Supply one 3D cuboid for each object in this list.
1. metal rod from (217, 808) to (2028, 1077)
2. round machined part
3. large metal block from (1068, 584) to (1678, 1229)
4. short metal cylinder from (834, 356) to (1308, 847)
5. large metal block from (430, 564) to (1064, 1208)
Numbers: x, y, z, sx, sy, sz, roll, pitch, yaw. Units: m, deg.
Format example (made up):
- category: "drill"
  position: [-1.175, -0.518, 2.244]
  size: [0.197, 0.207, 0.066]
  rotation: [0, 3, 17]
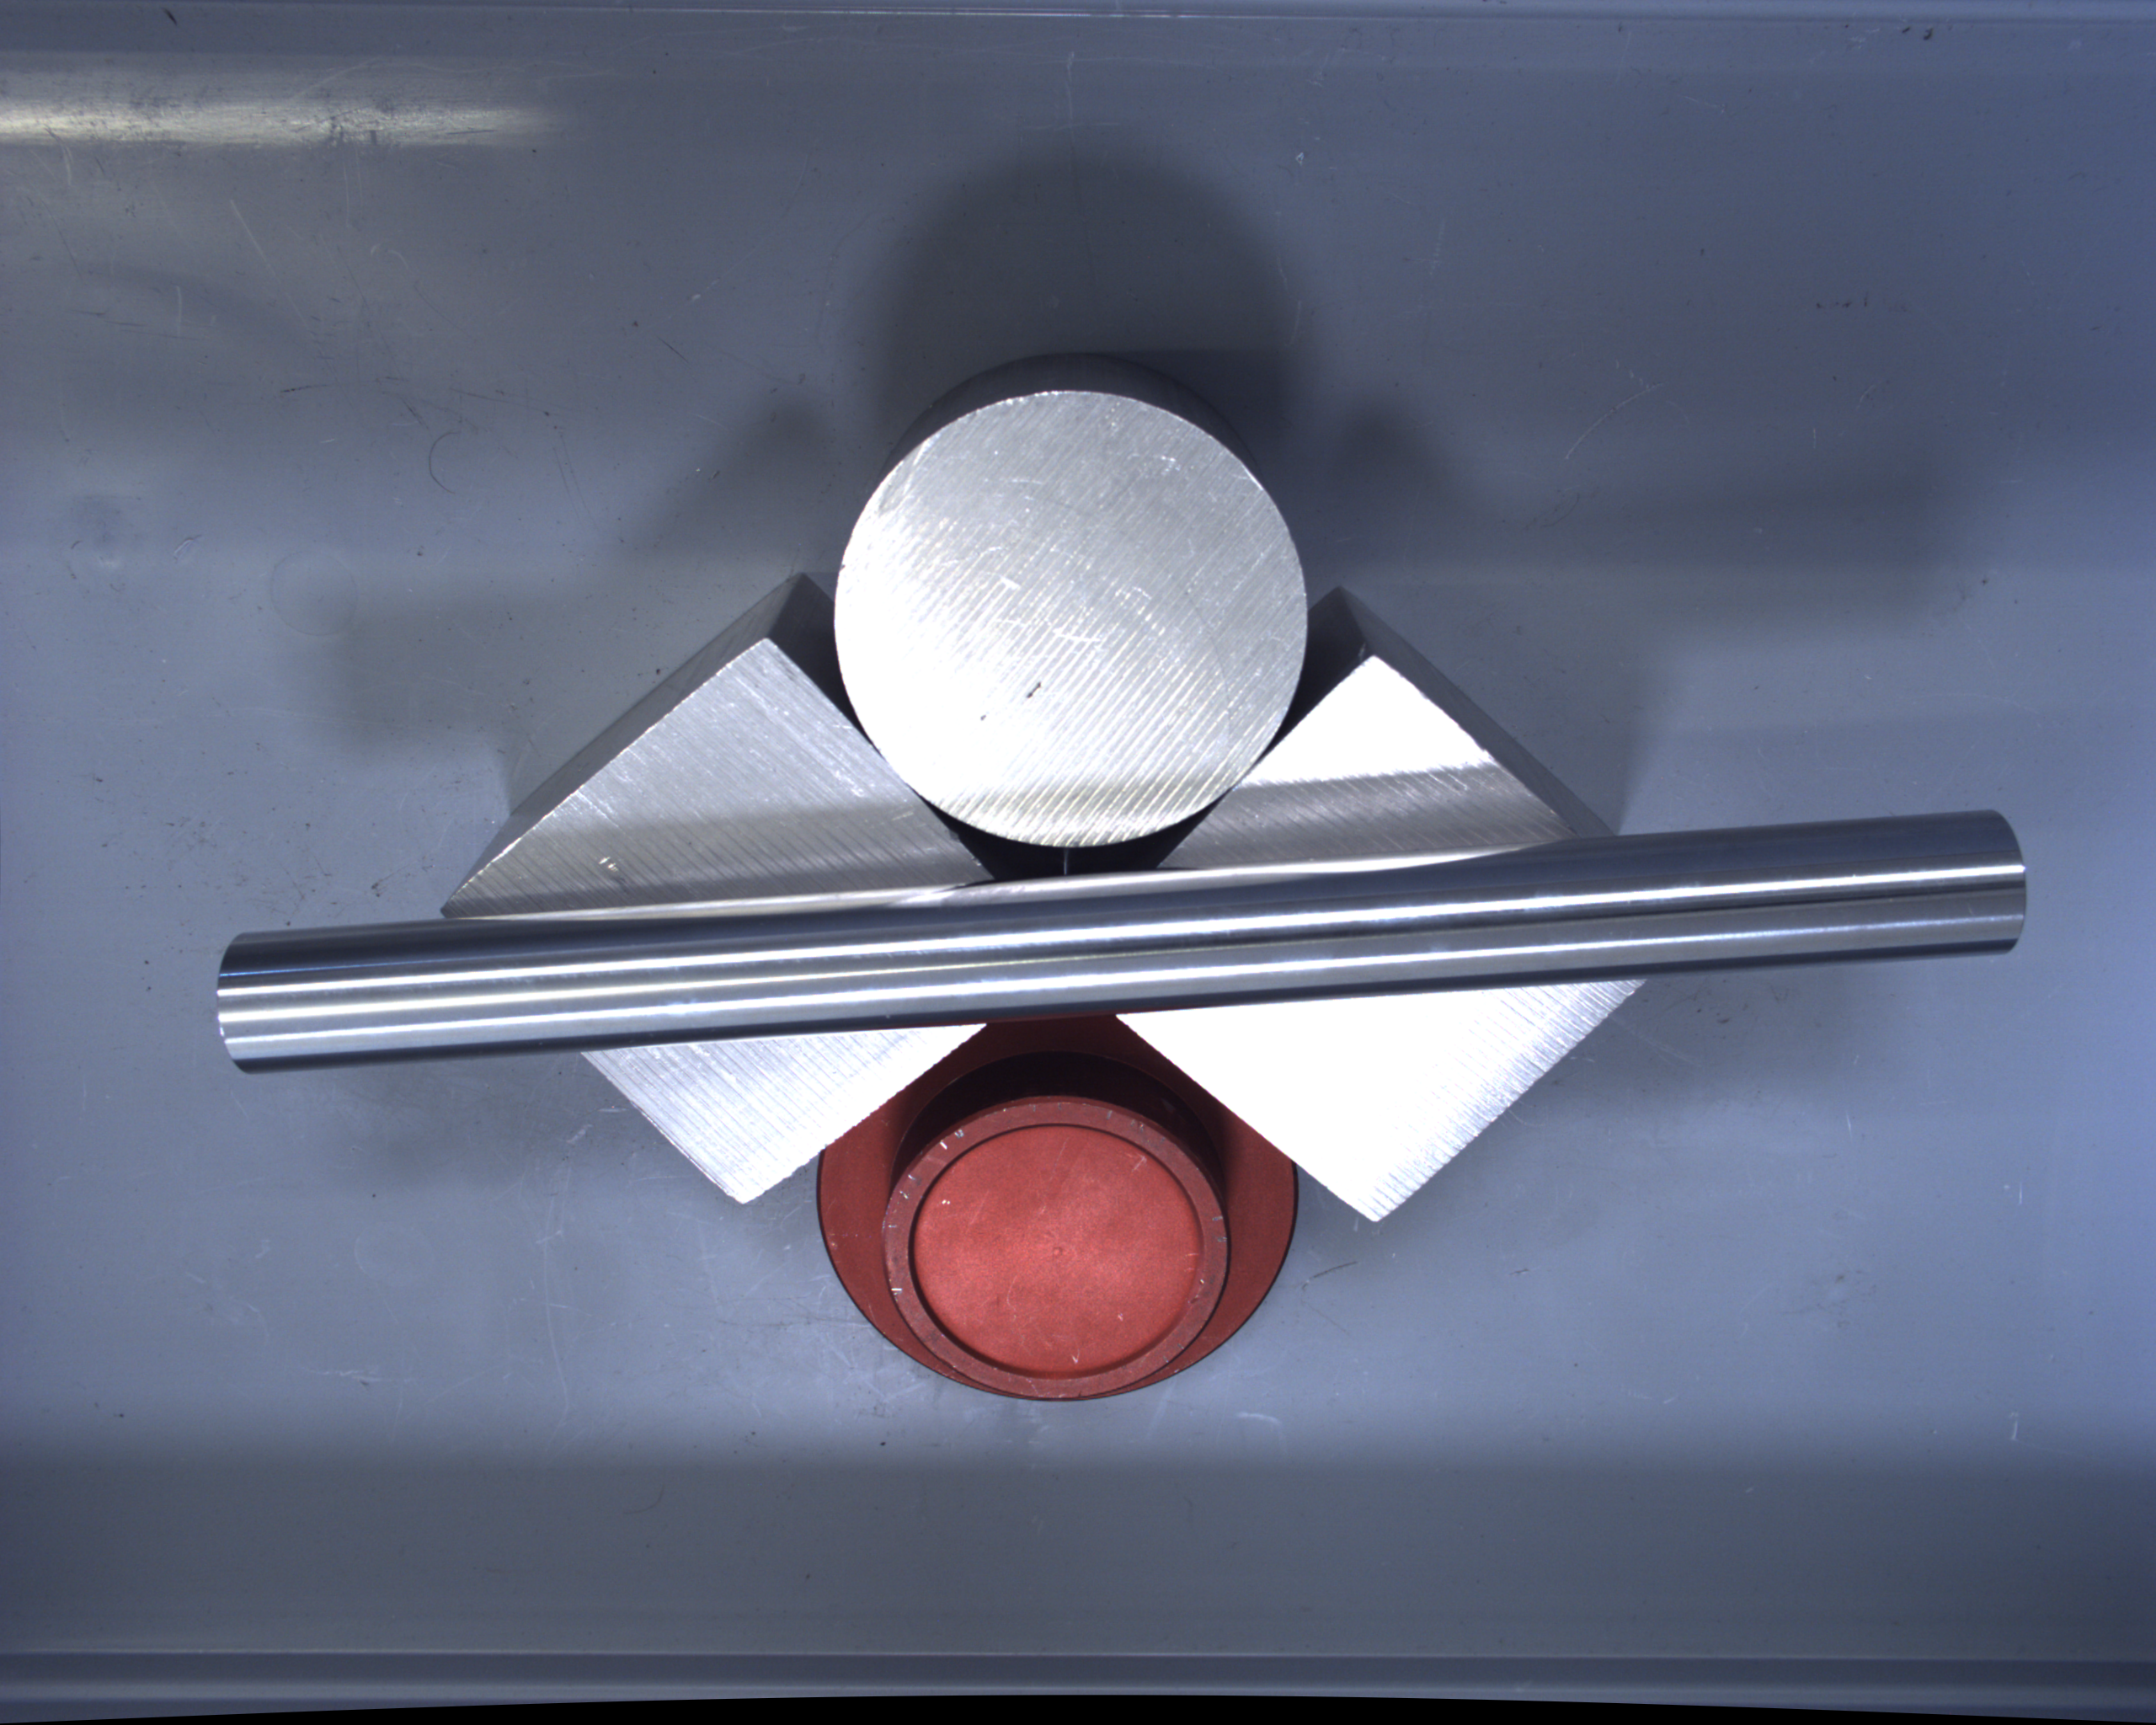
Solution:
- category: "metal rod"
  position: [0.006, 0.014, 0.359]
  size: [0.302, 0.025, 0.025]
  rotation: [-4, 110, 2]
- category: "round machined part"
  position: [-0.004, 0.070, 0.426]
  size: [0.099, 0.042, 0.097]
  rotation: [0, 110, 0]
- category: "large metal block"
  position: [0.054, 0.008, 0.397]
  size: [0.080, 0.050, 0.080]
  rotation: [40, 106, -14]
- category: "short metal cylinder"
  position: [-0.001, -0.049, 0.378]
  size: [0.081, 0.050, 0.079]
  rotation: [0, 110, 0]
- category: "large metal block"
  position: [-0.059, 0.004, 0.397]
  size: [0.080, 0.050, 0.080]
  rotation: [-38, 108, 12]
